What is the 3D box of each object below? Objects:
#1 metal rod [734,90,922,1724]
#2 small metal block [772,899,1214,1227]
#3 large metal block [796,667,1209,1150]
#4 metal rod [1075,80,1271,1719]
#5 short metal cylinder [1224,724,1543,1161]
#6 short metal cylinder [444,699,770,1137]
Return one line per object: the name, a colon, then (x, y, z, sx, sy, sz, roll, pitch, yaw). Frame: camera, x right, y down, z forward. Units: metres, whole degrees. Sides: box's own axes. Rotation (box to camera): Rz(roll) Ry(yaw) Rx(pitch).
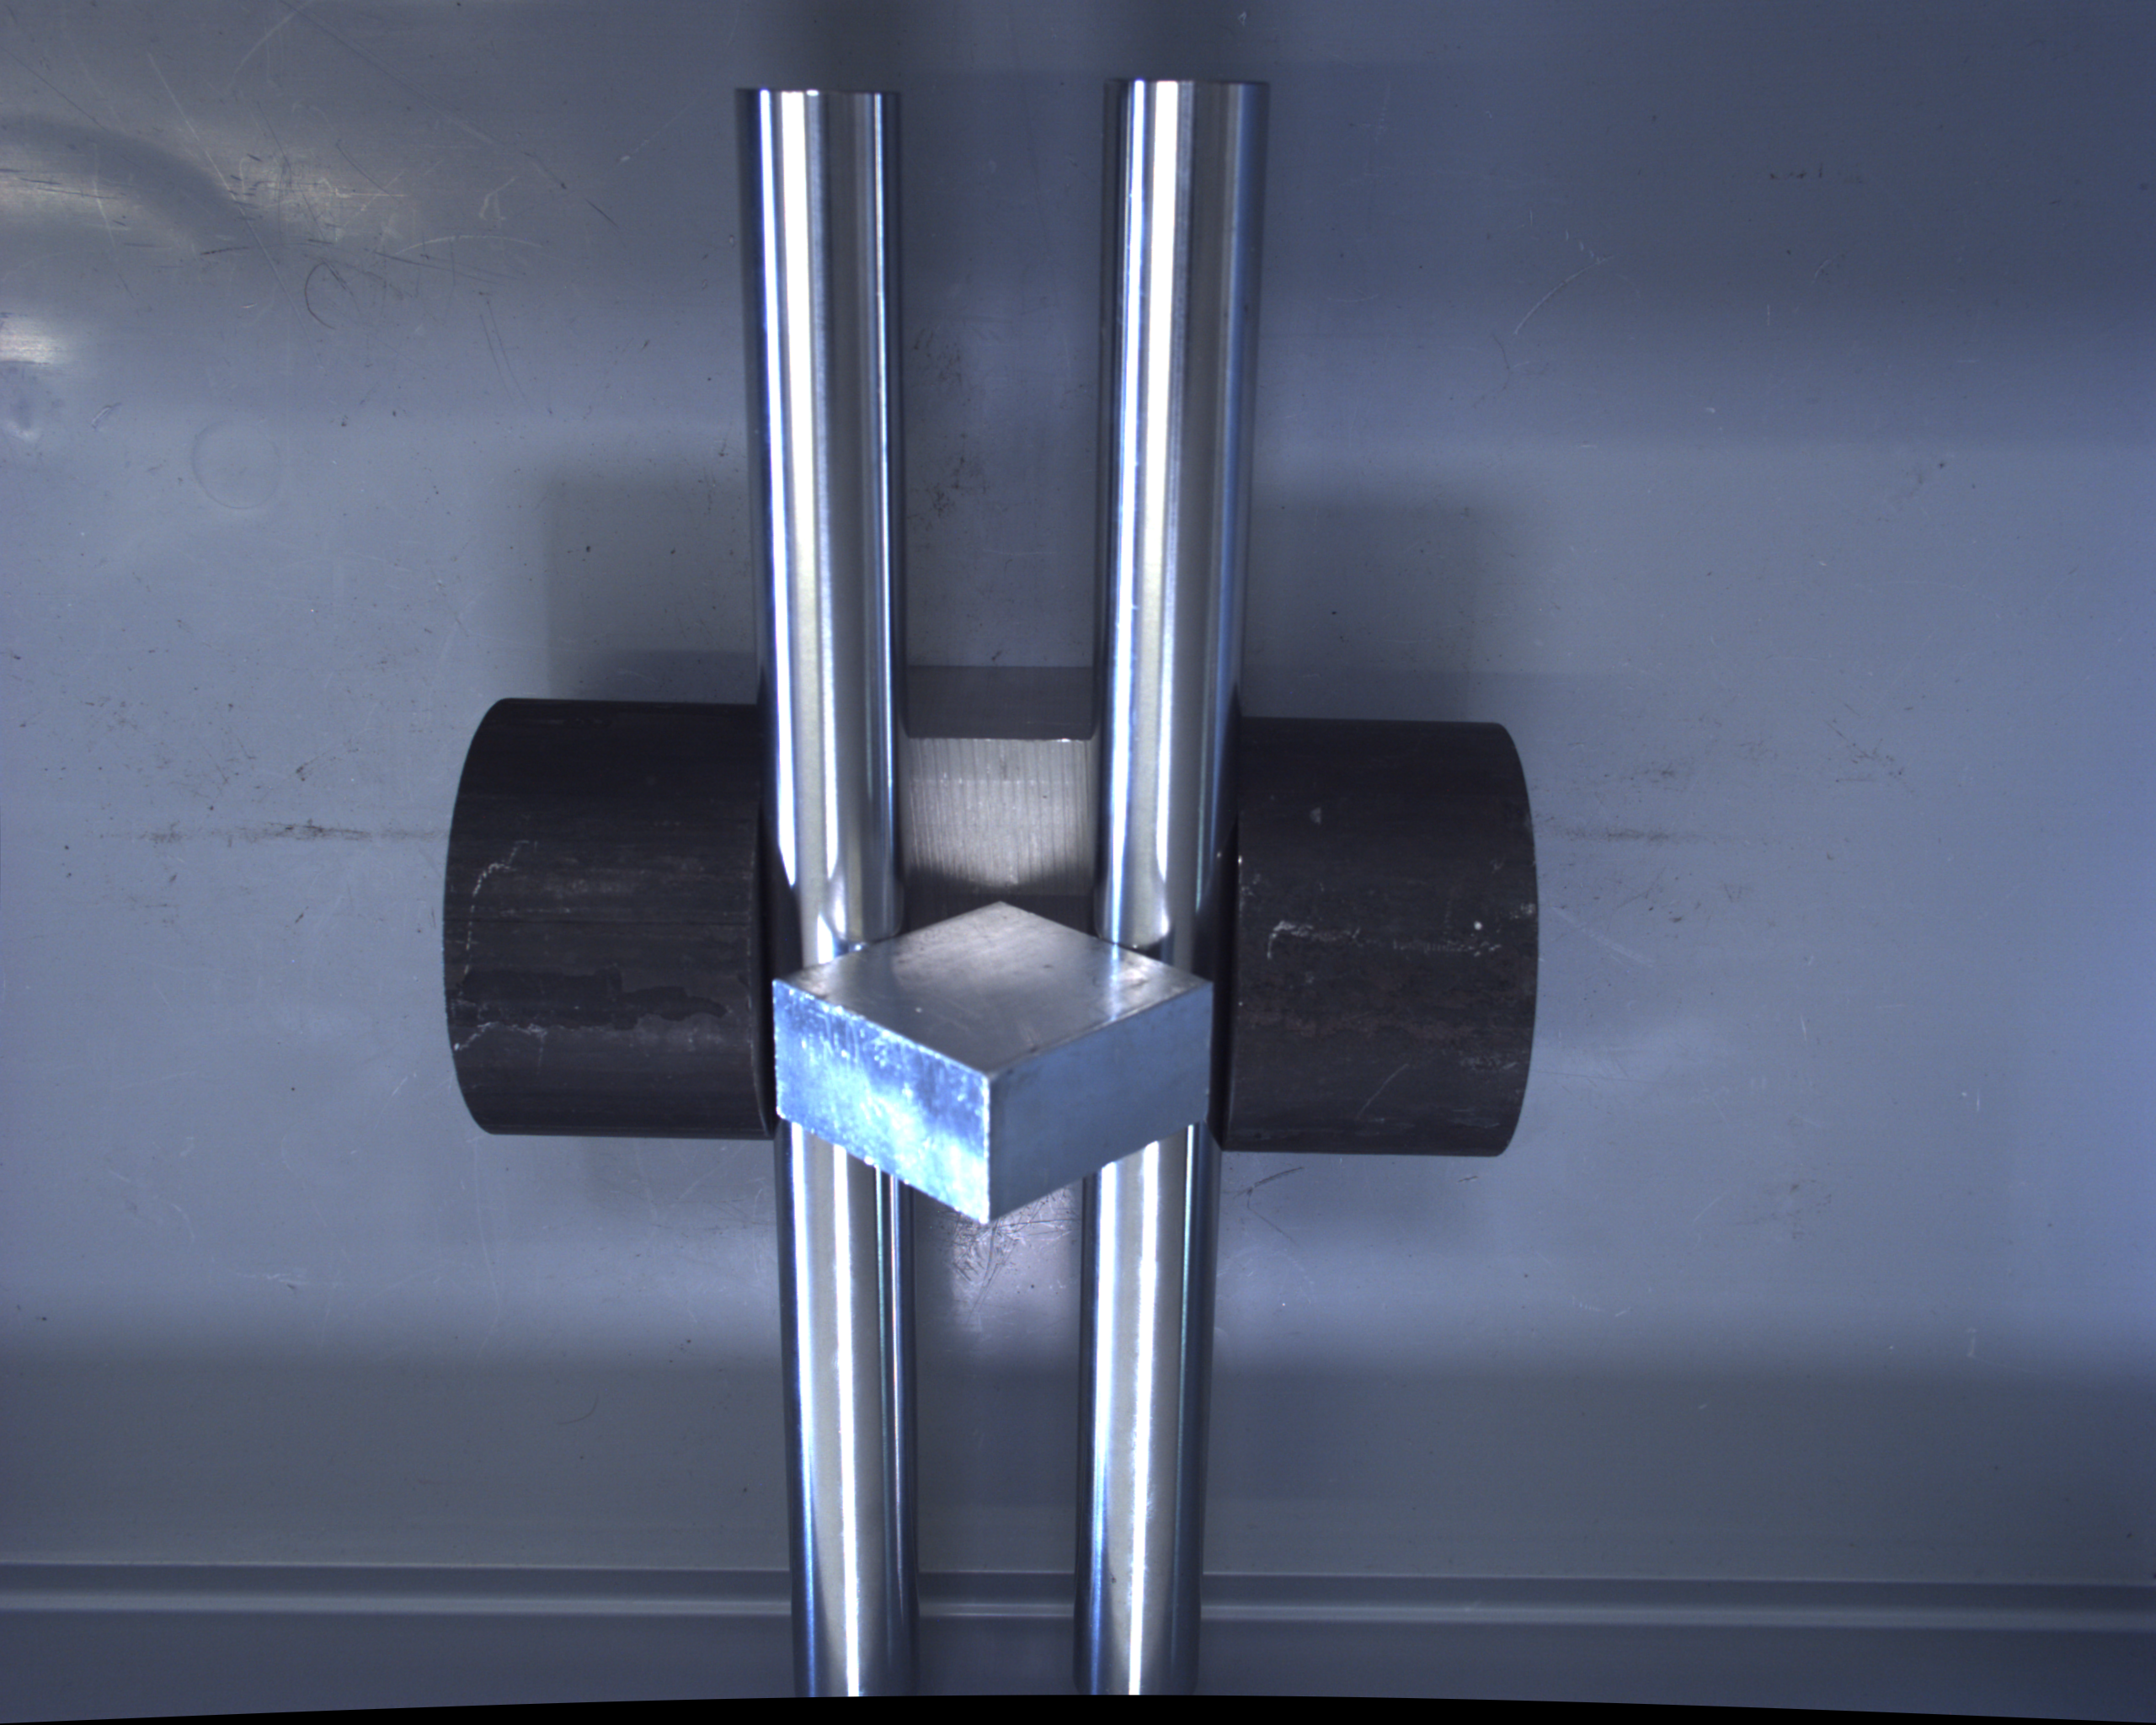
metal rod: (-0.041, 0.024, 0.365, 0.025, 0.025, 0.298, 1, 110, -1)
small metal block: (-0.014, 0.030, 0.340, 0.050, 0.050, 0.025, 19, 117, 40)
large metal block: (-0.014, 0.008, 0.399, 0.081, 0.050, 0.079, 1, 110, -1)
metal rod: (0.014, 0.022, 0.365, 0.025, 0.025, 0.298, 1, 110, -1)
short metal cylinder: (0.052, 0.014, 0.385, 0.050, 0.080, 0.079, 1, 110, 0)
short metal cylinder: (-0.080, 0.010, 0.383, 0.050, 0.080, 0.079, 1, 110, -1)
